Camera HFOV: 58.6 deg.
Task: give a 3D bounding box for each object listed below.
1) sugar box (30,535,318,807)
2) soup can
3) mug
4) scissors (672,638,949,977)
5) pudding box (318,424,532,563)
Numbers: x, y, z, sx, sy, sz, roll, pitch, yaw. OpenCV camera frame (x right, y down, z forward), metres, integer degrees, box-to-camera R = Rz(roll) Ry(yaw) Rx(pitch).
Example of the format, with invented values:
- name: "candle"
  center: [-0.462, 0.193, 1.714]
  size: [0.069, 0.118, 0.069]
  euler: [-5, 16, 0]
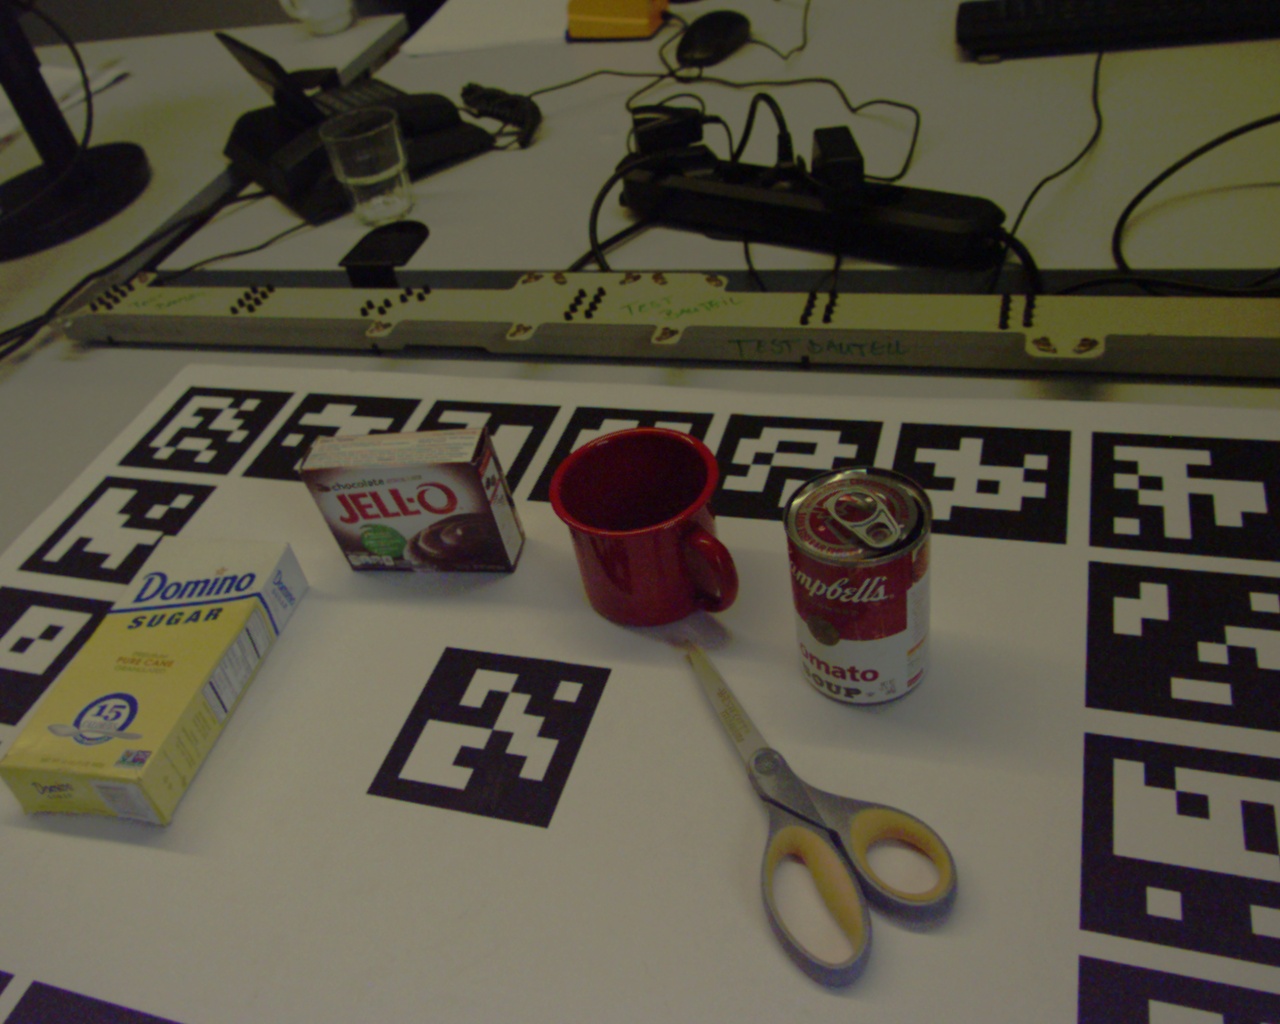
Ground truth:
- name: "sugar box"
  center: [-0.275, 0.090, 0.691]
  size: [0.094, 0.045, 0.176]
  euler: [0, 46, 18]
- name: "soup can"
  center: [0.110, 0.039, 0.605]
  size: [0.068, 0.101, 0.068]
  euler: [-8, 41, 6]
- name: "mug"
  center: [0.011, 0.005, 0.672]
  size: [0.093, 0.081, 0.118]
  euler: [-23, 42, -6]
- name: "scissors"
  center: [0.068, 0.128, 0.571]
  size: [0.087, 0.015, 0.205]
  euler: [-32, 45, -5]
- name: "pudding box"
  center: [-0.132, -0.011, 0.716]
  size: [0.114, 0.089, 0.039]
  euler: [-2, 50, 12]
